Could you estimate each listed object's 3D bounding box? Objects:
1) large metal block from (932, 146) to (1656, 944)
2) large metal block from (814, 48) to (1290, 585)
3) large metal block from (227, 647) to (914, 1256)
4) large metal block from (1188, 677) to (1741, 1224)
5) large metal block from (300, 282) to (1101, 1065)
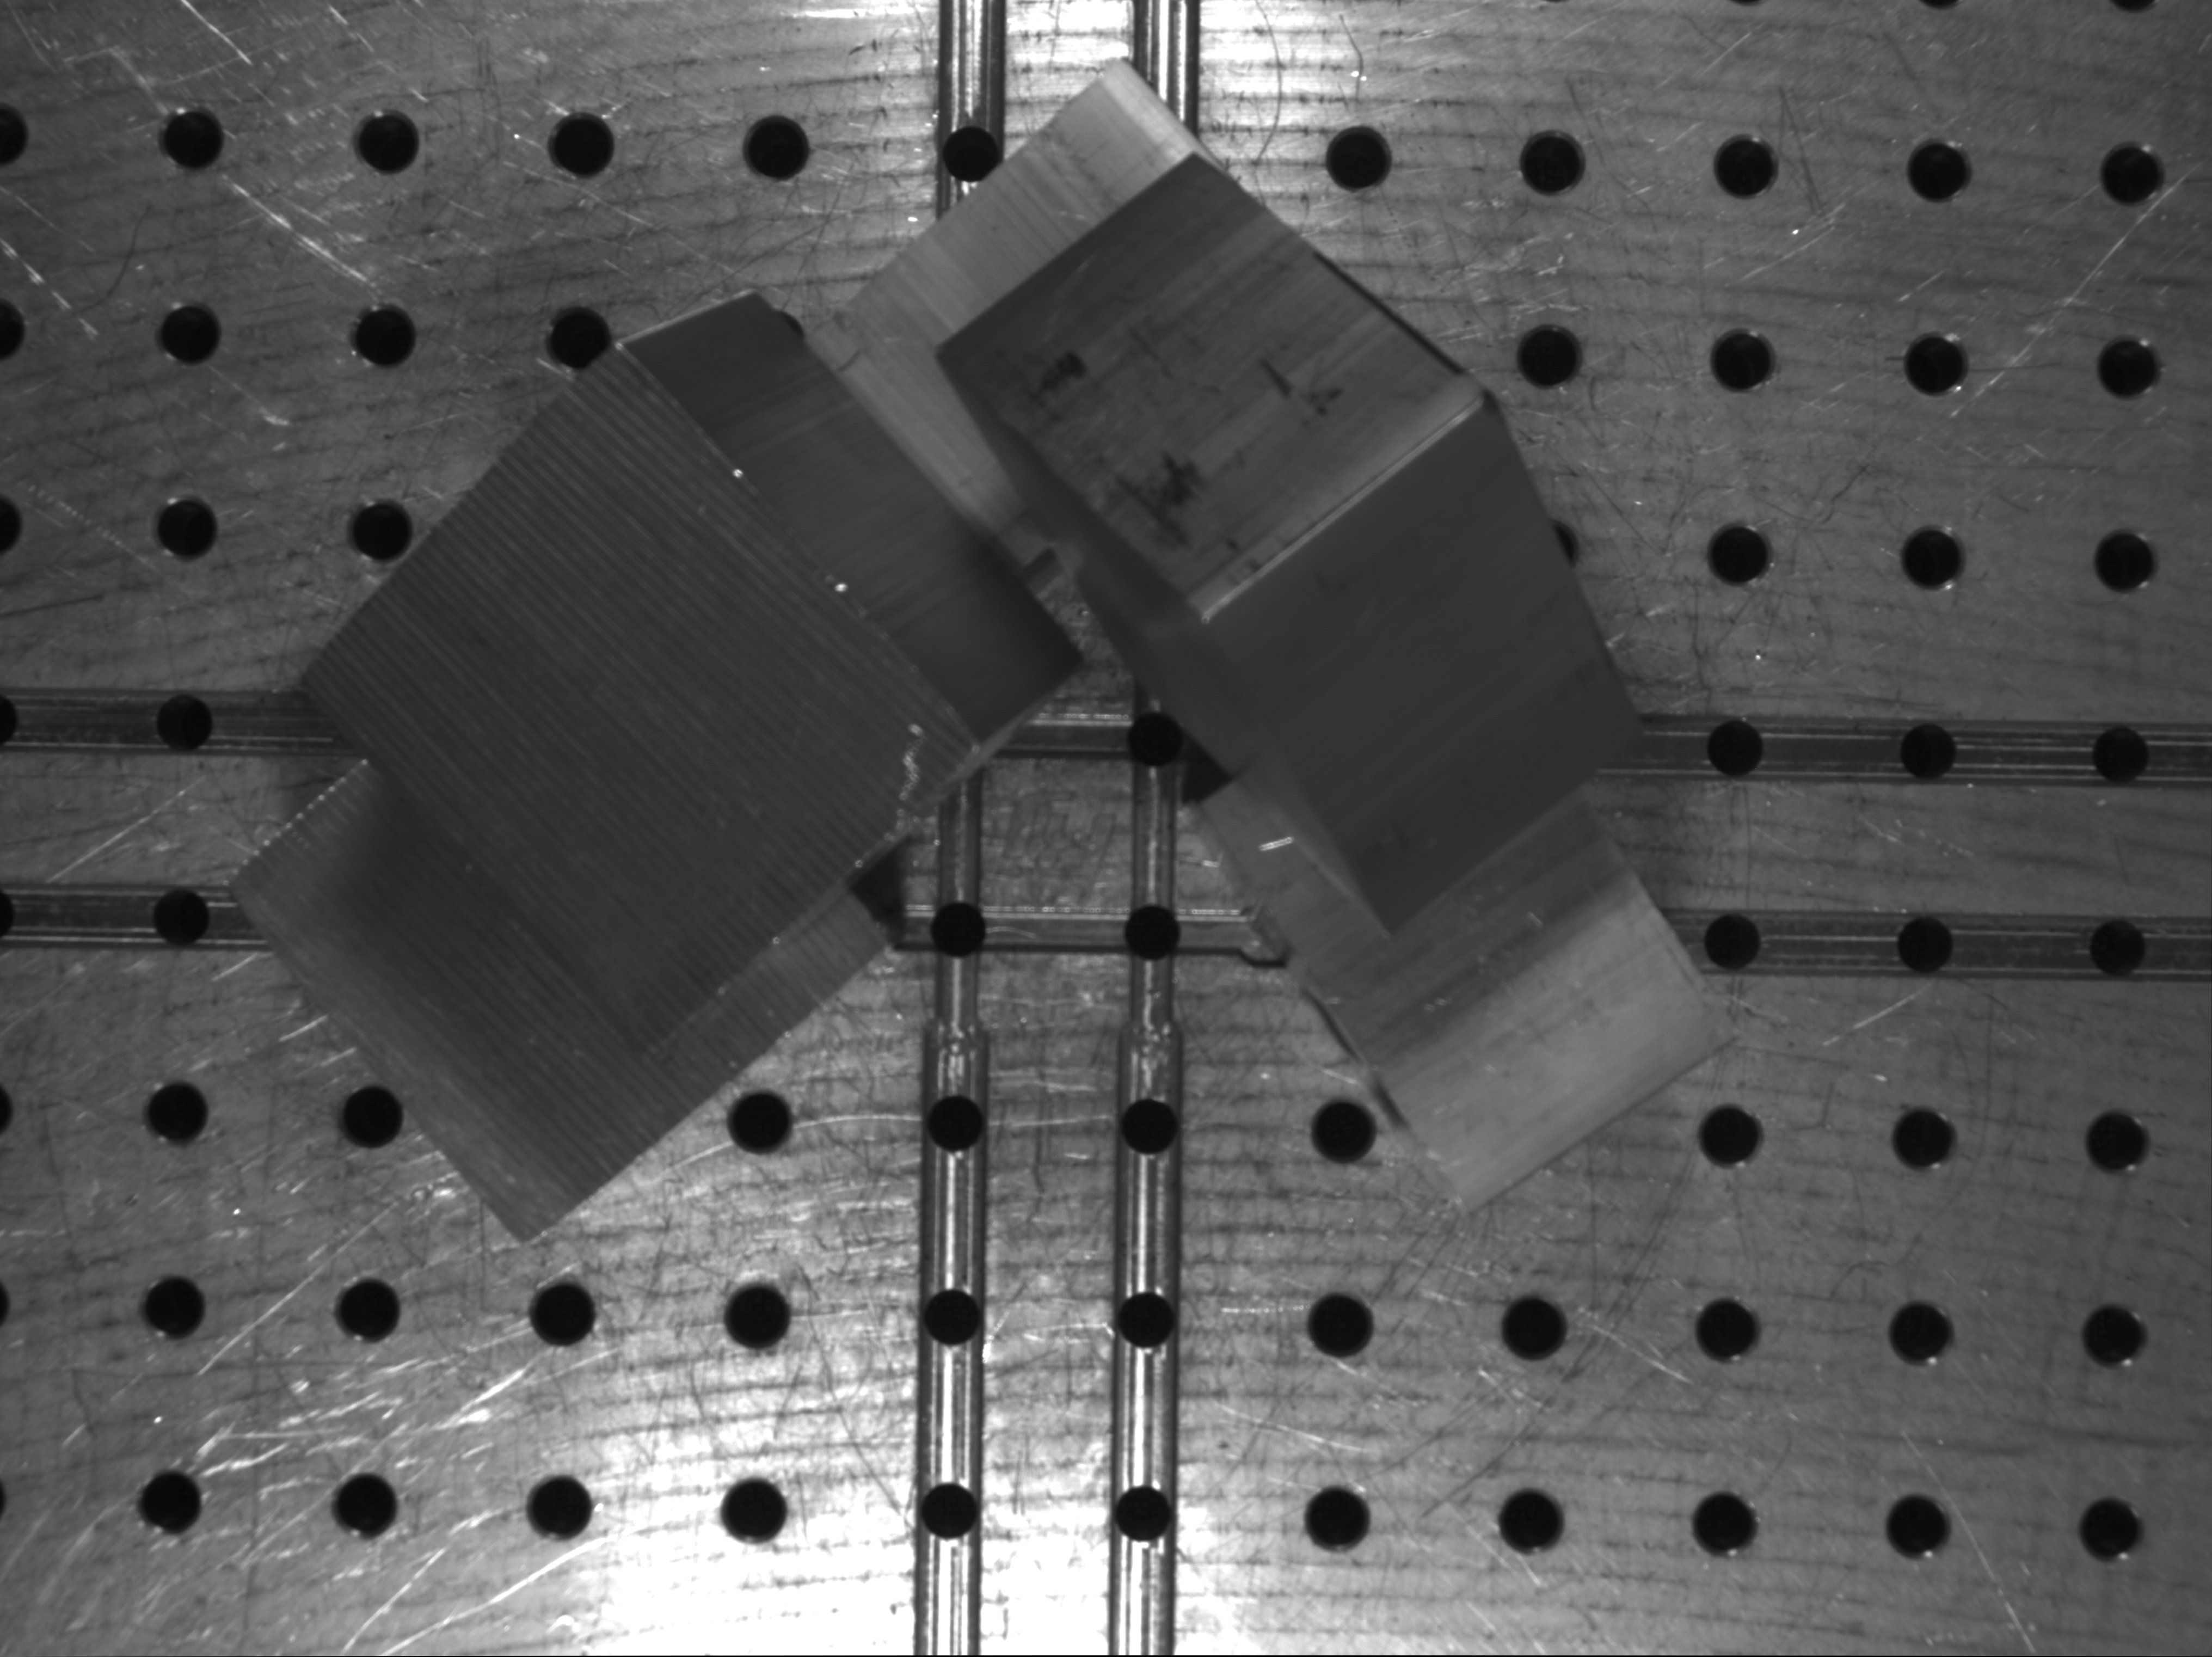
[{"bbox_3d":[0.029,-0.043,0.549,0.050,0.080,0.080,-39,48,-5],"label":"large metal block"},{"bbox_3d":[-0.009,-0.078,0.618,0.080,0.080,0.050,-42,90,0],"label":"large metal block"},{"bbox_3d":[-0.090,0.015,0.634,0.080,0.050,0.080,-39,90,0],"label":"large metal block"},{"bbox_3d":[0.057,0.015,0.619,0.050,0.080,0.080,-34,90,0],"label":"large metal block"},{"bbox_3d":[-0.062,-0.025,0.569,0.080,0.050,0.080,-42,90,25],"label":"large metal block"}]
